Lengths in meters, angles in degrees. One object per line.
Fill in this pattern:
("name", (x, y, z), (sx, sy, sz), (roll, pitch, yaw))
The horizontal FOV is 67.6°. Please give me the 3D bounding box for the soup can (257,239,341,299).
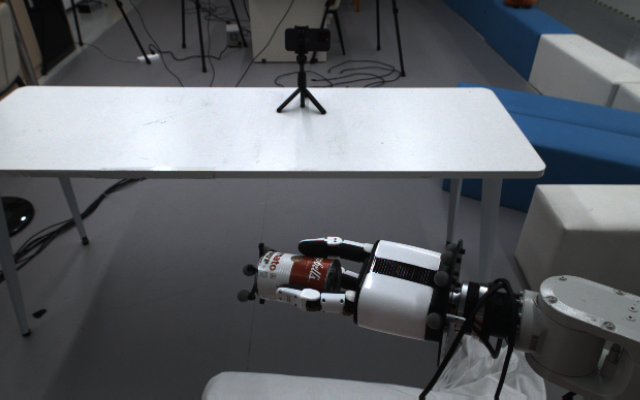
("soup can", (-0.026, 0.108, 0.654), (0.101, 0.067, 0.067), (5, 34, 18))
